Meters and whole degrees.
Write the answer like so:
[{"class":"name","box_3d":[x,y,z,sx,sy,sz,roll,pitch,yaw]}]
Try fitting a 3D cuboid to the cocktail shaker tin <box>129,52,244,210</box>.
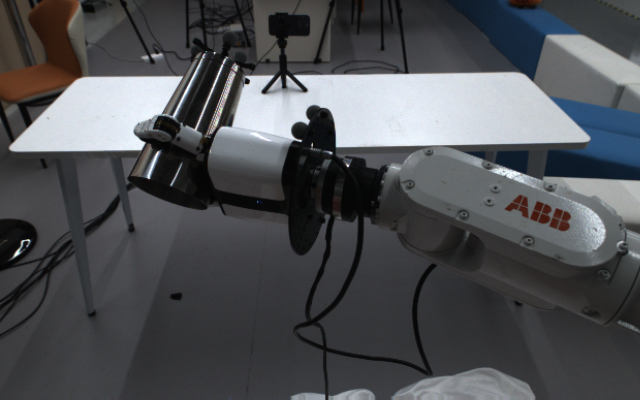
[{"class":"cocktail shaker tin","box_3d":[-0.147,-0.083,0.566,0.093,0.093,0.170,13,72,15]}]
